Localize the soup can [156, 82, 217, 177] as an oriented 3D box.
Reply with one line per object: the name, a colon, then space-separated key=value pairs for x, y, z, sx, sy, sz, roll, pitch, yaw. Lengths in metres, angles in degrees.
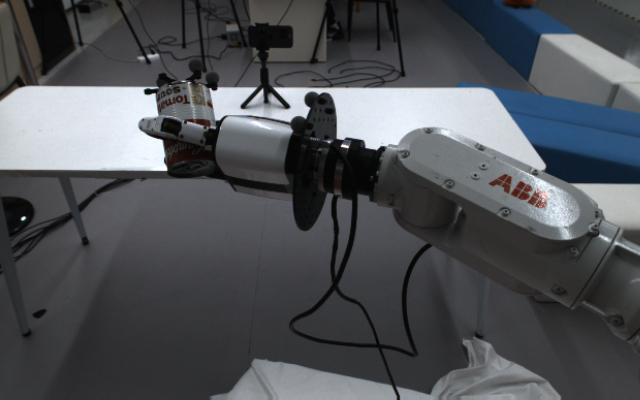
soup can: x=-0.158 y=-0.084 z=0.592 sx=0.067 sy=0.067 sz=0.101 roll=-10 pitch=79 yaw=-17
